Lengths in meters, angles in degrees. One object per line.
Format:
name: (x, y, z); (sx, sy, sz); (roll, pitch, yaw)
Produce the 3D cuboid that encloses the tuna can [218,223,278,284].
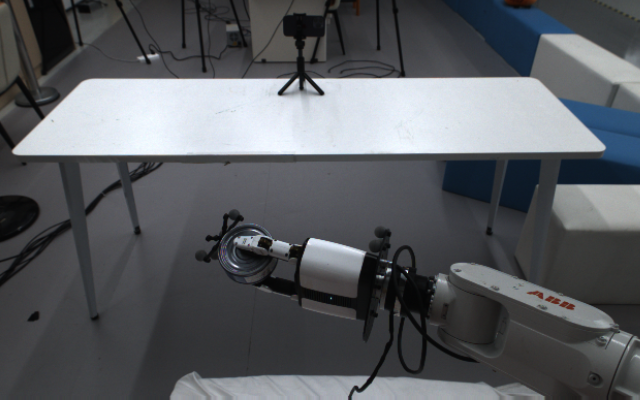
tuna can: (-0.102, 0.083, 0.711); (0.085, 0.034, 0.085); (-1, 62, 1)
